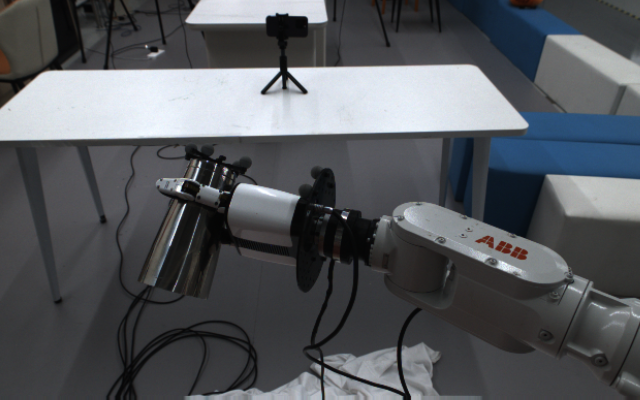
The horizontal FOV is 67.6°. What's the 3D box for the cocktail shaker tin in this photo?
[{"bbox_3d":[-0.166,0.034,0.641,0.093,0.093,0.170,13,77,15],"label":"cocktail shaker tin"}]
